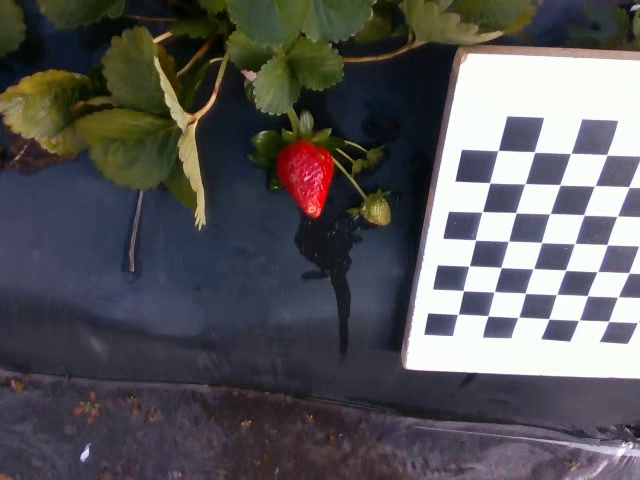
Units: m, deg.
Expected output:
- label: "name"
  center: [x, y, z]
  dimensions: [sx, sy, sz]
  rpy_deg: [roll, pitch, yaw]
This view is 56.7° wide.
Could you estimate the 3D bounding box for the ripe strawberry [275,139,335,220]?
- label: "ripe strawberry"
  center: [-0.007, -0.040, 0.420]
  dimensions: [0.043, 0.057, 0.052]
  rpy_deg: [-17, -29, 17]
